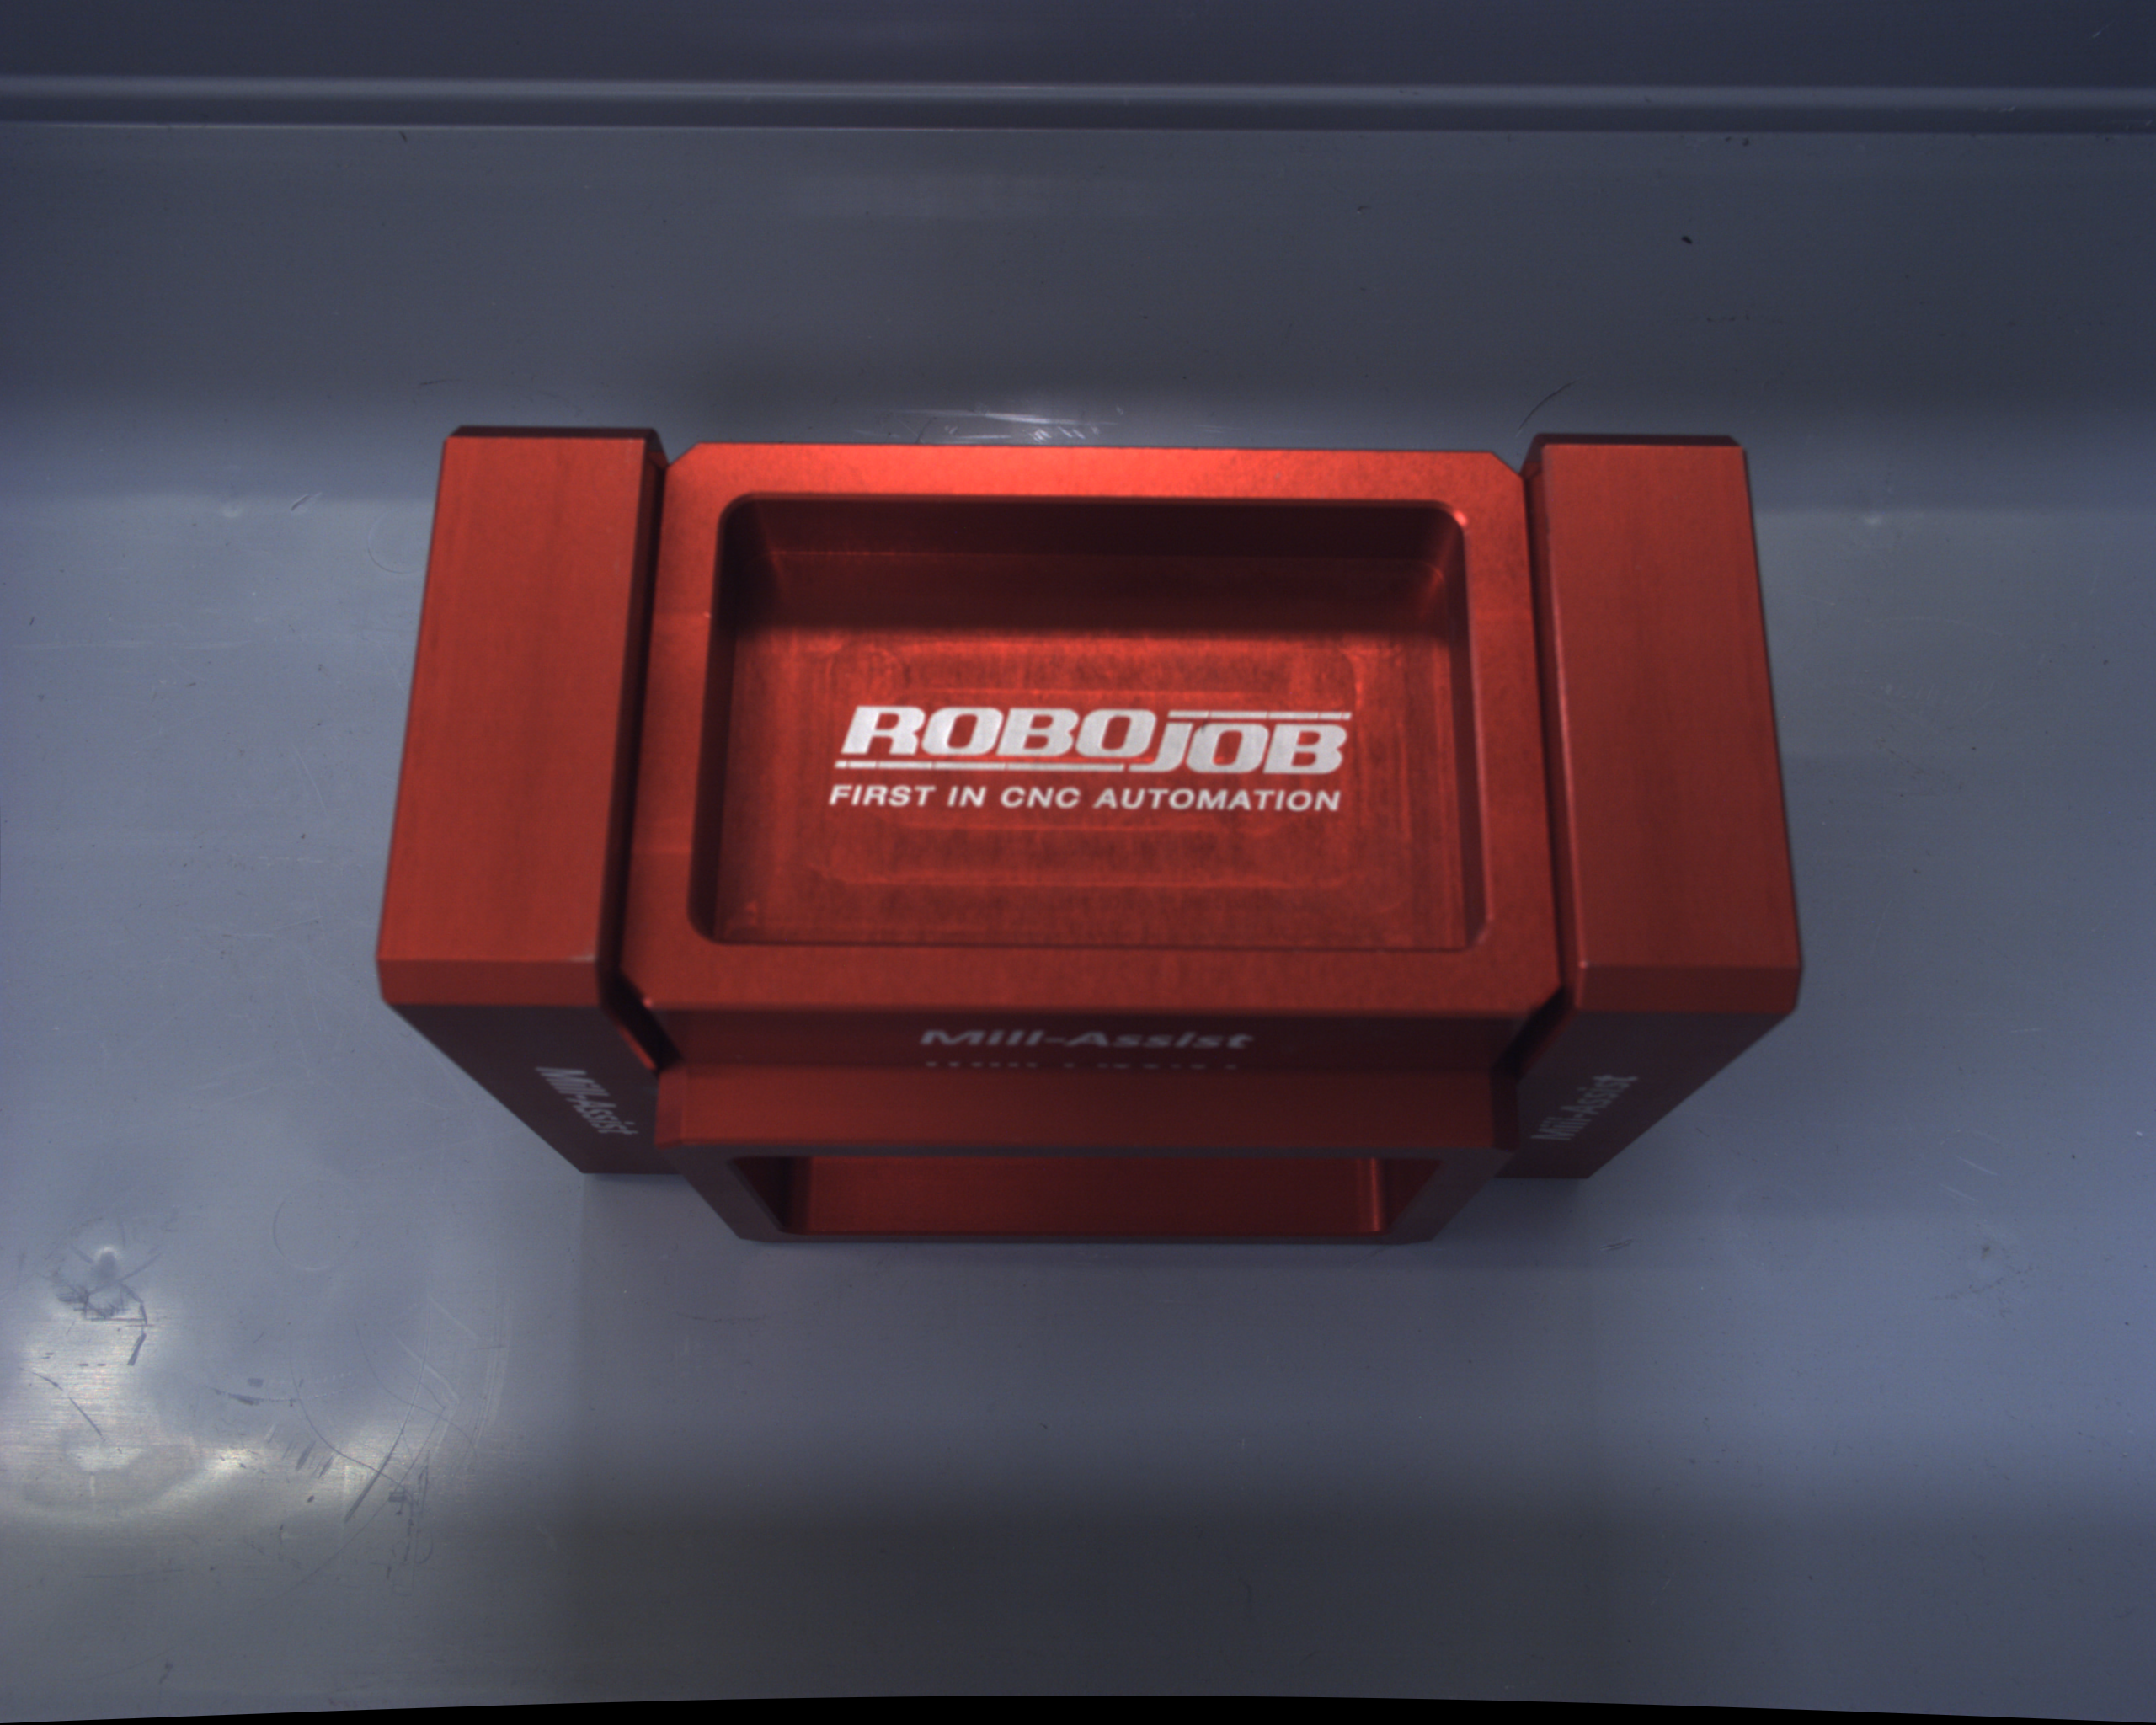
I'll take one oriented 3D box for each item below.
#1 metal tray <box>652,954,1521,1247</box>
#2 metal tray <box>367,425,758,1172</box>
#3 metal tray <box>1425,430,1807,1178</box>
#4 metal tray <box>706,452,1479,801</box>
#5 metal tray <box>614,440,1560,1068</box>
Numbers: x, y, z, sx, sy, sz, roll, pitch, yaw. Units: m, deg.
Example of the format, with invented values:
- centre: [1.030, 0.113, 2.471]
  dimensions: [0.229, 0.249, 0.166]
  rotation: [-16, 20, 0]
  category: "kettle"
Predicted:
- centre: [0.001, 0.043, 0.356]
  dimensions: [0.131, 0.090, 0.030]
  rotation: [0, 70, 0]
  category: "metal tray"
- centre: [-0.080, -0.003, 0.353]
  dimensions: [0.030, 0.130, 0.090]
  rotation: [1, 71, 0]
  category: "metal tray"
- centre: [0.083, -0.002, 0.353]
  dimensions: [0.030, 0.130, 0.090]
  rotation: [1, 71, 0]
  category: "metal tray"
- centre: [0.002, -0.041, 0.387]
  dimensions: [0.131, 0.090, 0.030]
  rotation: [0, 71, 0]
  category: "metal tray"
- centre: [0.002, -0.017, 0.315]
  dimensions: [0.131, 0.030, 0.090]
  rotation: [1, 70, 0]
  category: "metal tray"
